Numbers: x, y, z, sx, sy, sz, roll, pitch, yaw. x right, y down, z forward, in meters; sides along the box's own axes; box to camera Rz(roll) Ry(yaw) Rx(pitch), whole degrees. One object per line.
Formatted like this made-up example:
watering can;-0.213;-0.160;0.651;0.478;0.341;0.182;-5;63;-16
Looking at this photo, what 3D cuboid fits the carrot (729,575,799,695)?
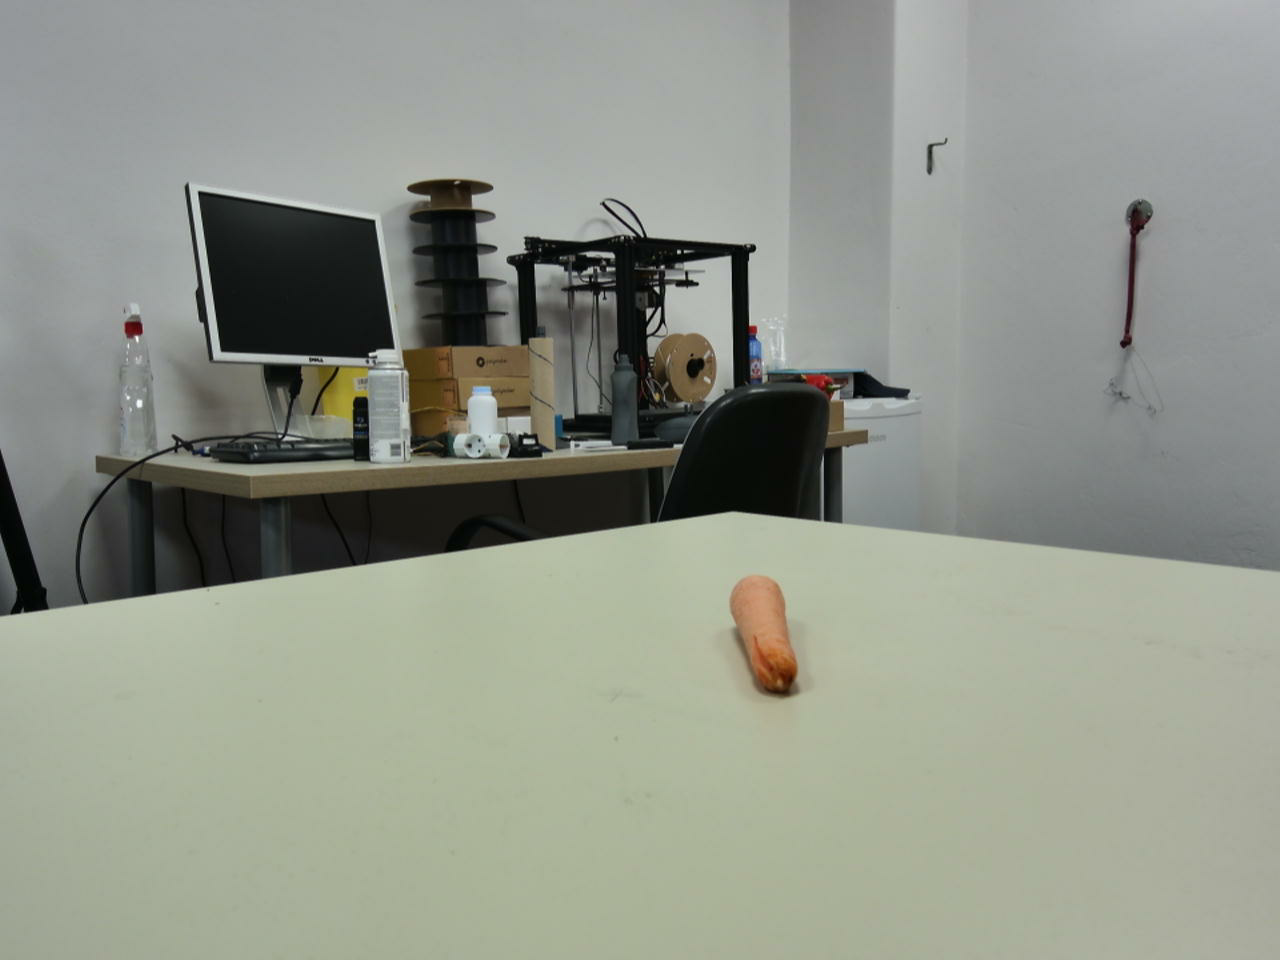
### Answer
carrot;0.059;0.069;0.479;0.030;0.032;0.136;1;4;3
